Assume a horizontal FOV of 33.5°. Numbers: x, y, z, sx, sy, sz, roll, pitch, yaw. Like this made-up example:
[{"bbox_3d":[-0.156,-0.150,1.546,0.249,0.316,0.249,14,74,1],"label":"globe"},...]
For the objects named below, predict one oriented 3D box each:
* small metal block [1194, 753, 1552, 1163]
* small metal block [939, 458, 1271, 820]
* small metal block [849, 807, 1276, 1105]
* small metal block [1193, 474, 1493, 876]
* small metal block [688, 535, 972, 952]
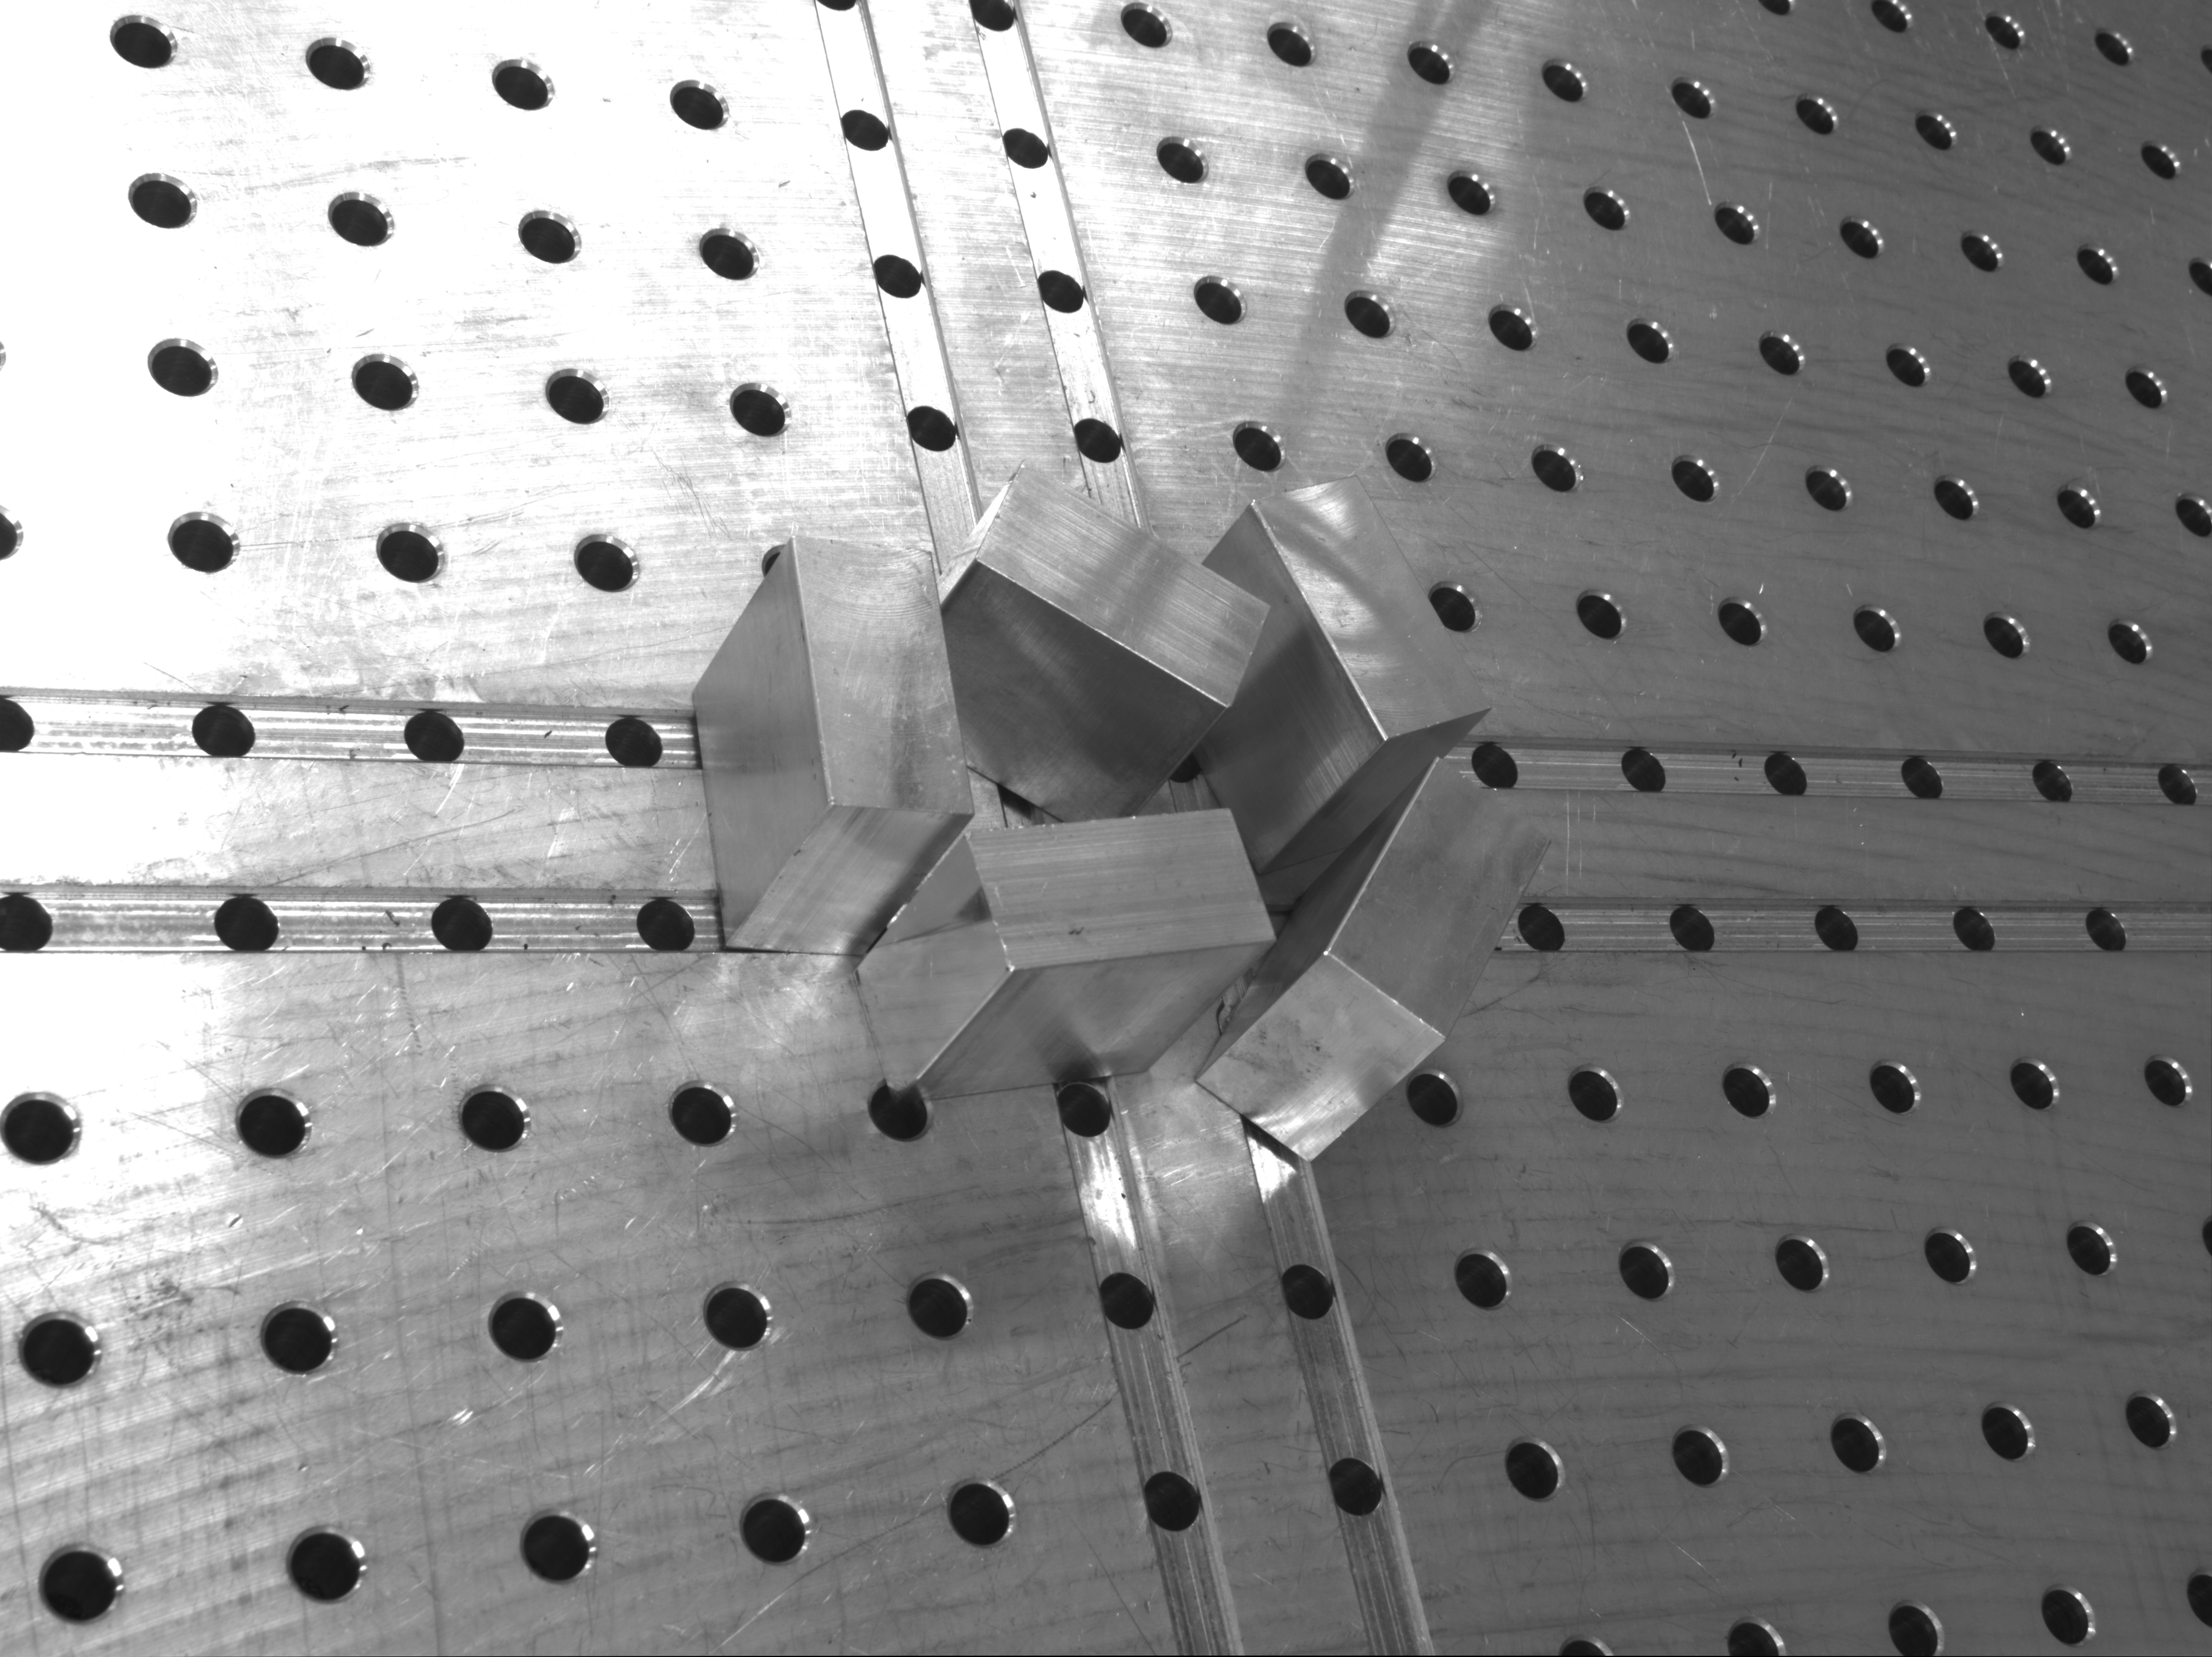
[{"bbox_3d":[0.046,0.023,0.636,0.025,0.050,0.050,36,51,-3],"label":"small metal block"},{"bbox_3d":[-0.007,-0.030,0.641,0.050,0.050,0.025,30,52,-9],"label":"small metal block"},{"bbox_3d":[-0.008,0.021,0.609,0.050,0.050,0.025,-5,64,-30],"label":"small metal block"},{"bbox_3d":[0.036,-0.027,0.662,0.025,0.050,0.050,-17,70,-35],"label":"small metal block"},{"bbox_3d":[-0.047,-0.013,0.609,0.025,0.050,0.050,3,61,-26],"label":"small metal block"}]
